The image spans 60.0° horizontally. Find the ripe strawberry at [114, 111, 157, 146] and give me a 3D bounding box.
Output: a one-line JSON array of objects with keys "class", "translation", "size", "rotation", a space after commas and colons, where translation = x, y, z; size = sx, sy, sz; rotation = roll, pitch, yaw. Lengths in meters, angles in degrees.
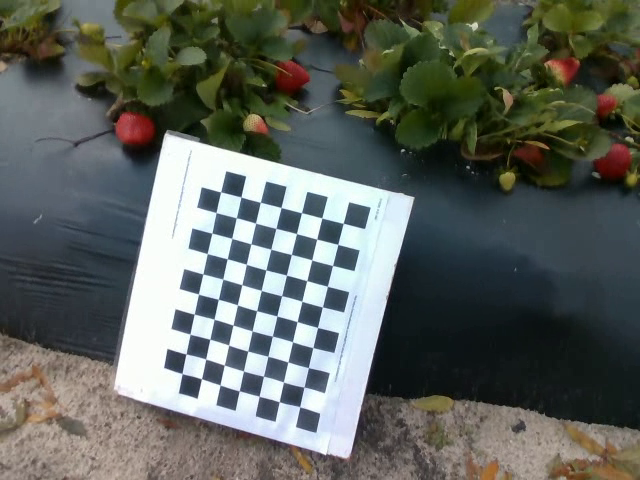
[{"class": "ripe strawberry", "translation": [-0.179, -0.097, 0.508], "size": [0.037, 0.046, 0.037], "rotation": [-32, -52, 15]}]
